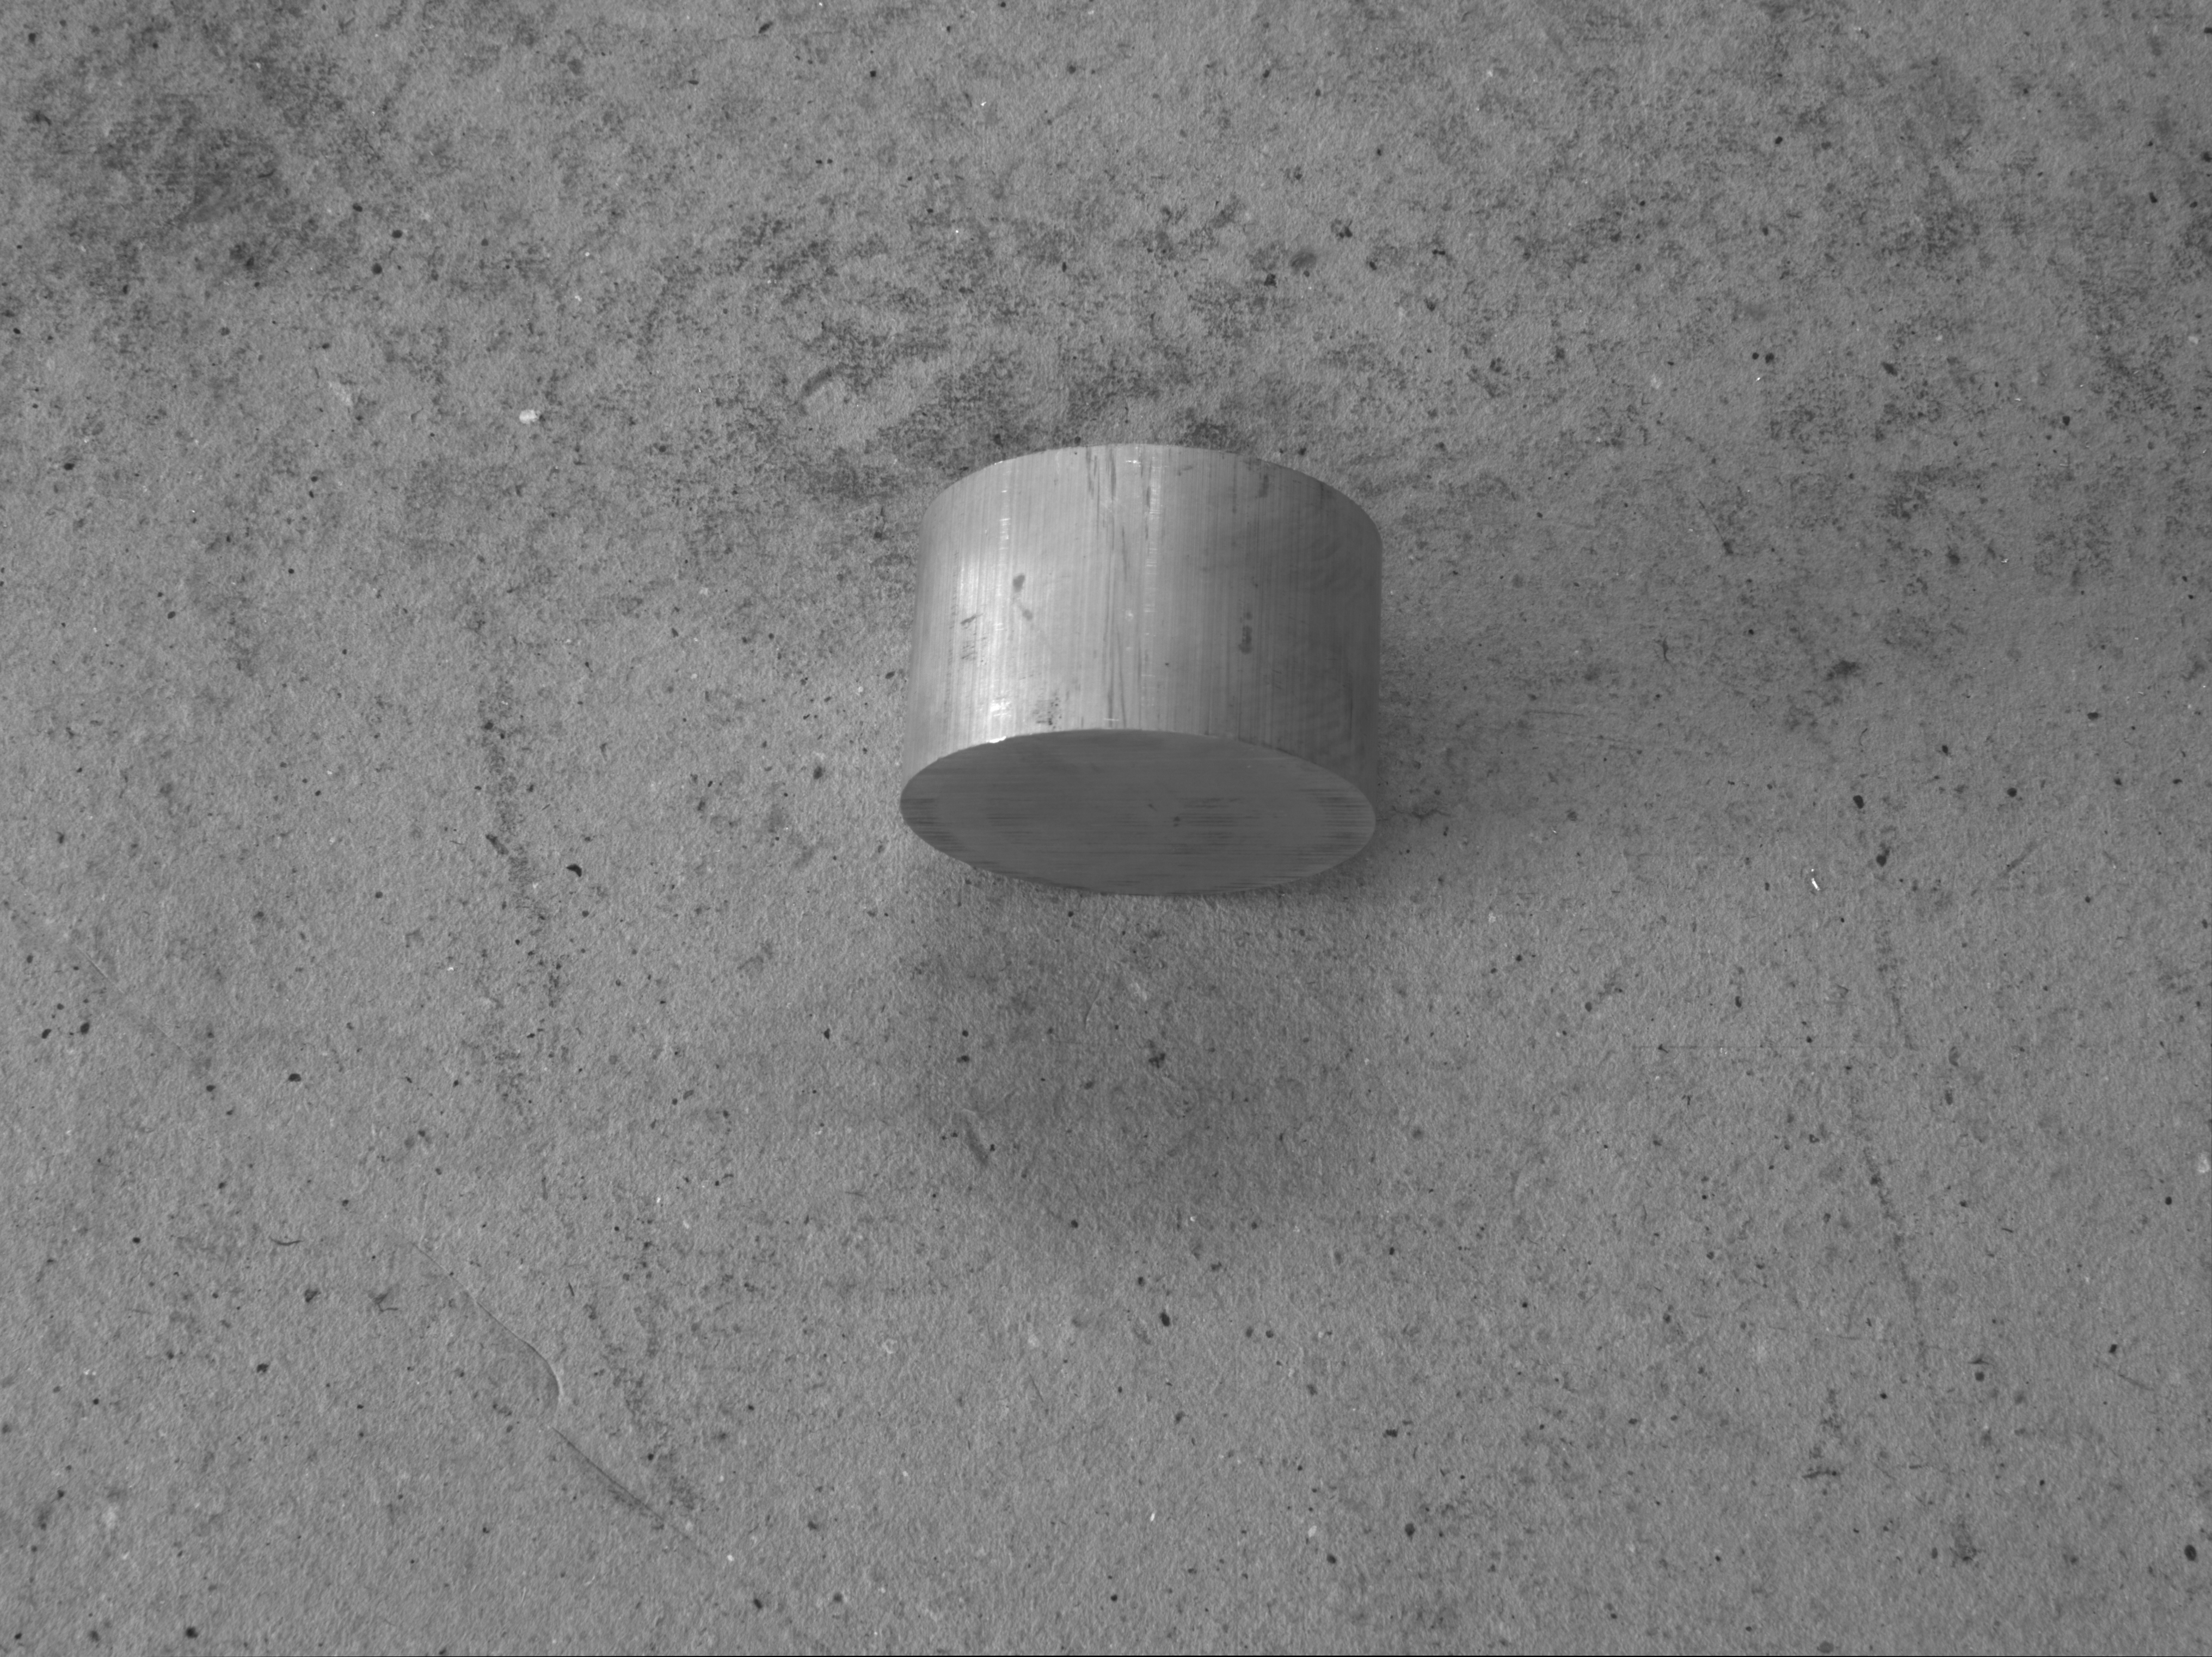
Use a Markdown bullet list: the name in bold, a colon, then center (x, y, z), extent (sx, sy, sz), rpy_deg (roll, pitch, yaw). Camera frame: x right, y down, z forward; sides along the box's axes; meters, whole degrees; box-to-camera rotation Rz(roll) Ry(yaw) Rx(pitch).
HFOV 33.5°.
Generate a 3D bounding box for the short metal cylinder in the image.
- **short metal cylinder**: center (0.006, -0.025, 0.626), extent (0.080, 0.080, 0.050), rpy_deg (2, 70, 1)
